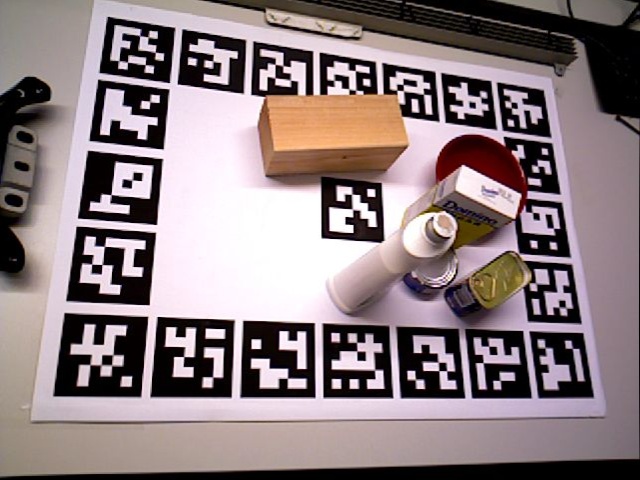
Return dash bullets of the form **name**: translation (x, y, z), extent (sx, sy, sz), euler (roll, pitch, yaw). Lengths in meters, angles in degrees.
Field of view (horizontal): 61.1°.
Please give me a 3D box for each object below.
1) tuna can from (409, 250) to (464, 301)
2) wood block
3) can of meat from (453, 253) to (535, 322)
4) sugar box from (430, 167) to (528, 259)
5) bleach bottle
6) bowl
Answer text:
- **tuna can**: translation (0.167, 0.046, 0.798), extent (0.085, 0.034, 0.085), euler (4, 74, -13)
- **wood block**: translation (0.022, -0.153, 0.801), extent (0.203, 0.091, 0.091), euler (-4, 77, -17)
- **can of meat**: translation (0.254, 0.071, 0.792), extent (0.100, 0.085, 0.058), euler (-26, 77, -23)
- **sugar box**: translation (0.207, -0.034, 0.757), extent (0.092, 0.179, 0.045), euler (24, 68, -3)
- **bleach bottle**: translation (0.099, 0.025, 0.671), extent (0.101, 0.255, 0.068), euler (-21, 77, -21)
- **bowl**: translation (0.266, -0.083, 0.858), extent (0.160, 0.056, 0.160), euler (3, 71, -10)
